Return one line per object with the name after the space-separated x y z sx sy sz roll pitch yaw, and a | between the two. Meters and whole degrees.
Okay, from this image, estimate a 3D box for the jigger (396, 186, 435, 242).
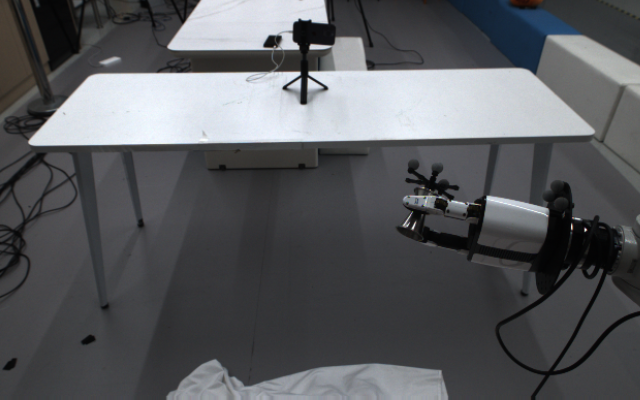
0.143 0.018 0.709 0.043 0.043 0.071 20 73 24 | jigger
